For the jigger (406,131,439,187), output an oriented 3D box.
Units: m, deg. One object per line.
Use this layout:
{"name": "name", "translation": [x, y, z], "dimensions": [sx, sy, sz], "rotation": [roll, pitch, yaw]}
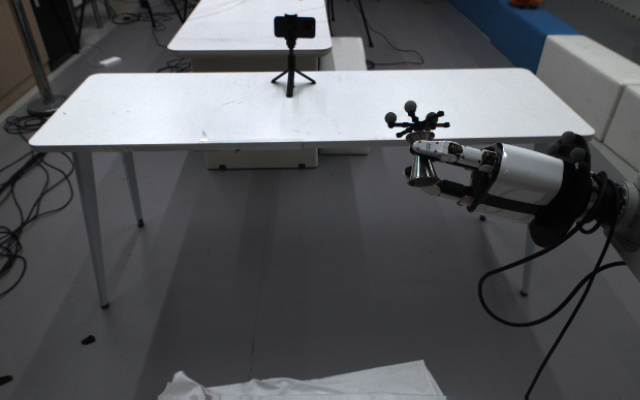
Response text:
{"name": "jigger", "translation": [0.140, -0.058, 0.666], "dimensions": [0.043, 0.043, 0.071], "rotation": [0, 75, -3]}
